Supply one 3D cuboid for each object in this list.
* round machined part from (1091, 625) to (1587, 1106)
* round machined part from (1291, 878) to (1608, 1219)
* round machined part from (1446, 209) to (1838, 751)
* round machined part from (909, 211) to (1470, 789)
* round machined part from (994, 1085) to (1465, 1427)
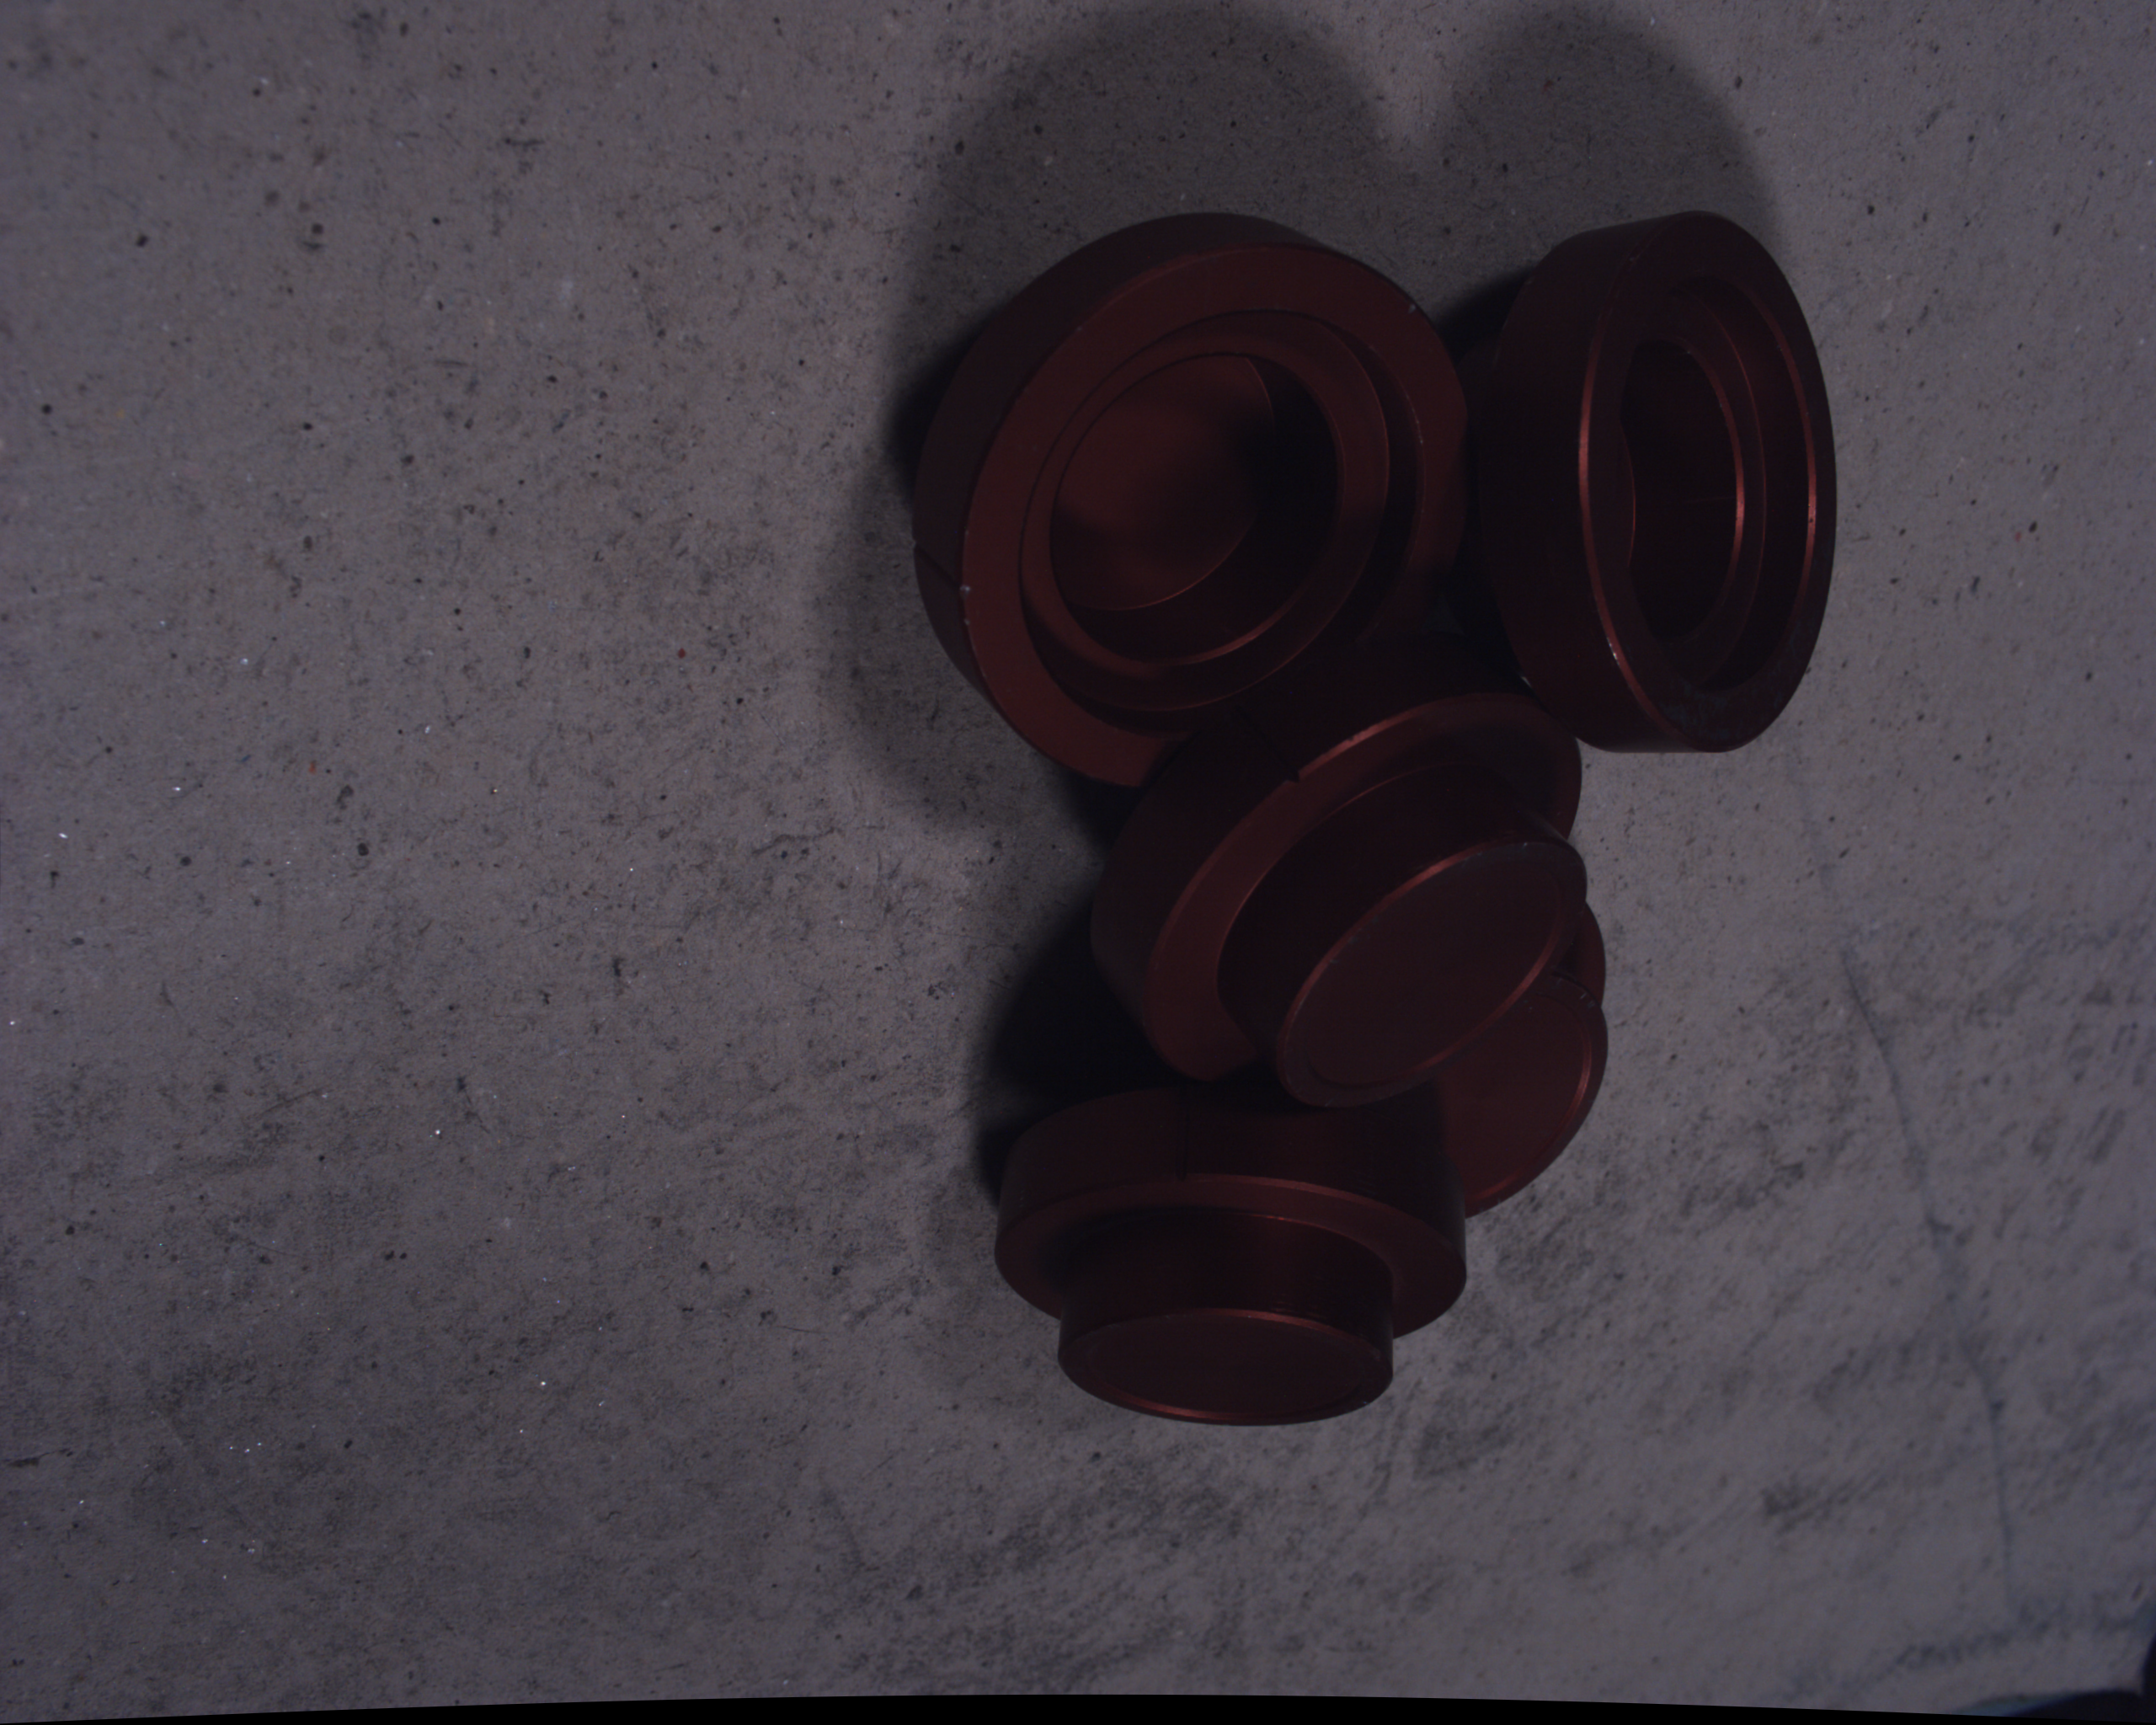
[{"bbox_3d":[0.055,0.007,0.391,0.099,0.042,0.097,-22,140,-20],"label":"round machined part"},{"bbox_3d":[0.079,0.042,0.468,0.099,0.042,0.097,-14,125,-21],"label":"round machined part"},{"bbox_3d":[0.102,-0.070,0.394,0.099,0.042,0.097,-3,94,-46],"label":"round machined part"},{"bbox_3d":[0.016,-0.065,0.367,0.099,0.042,0.097,-14,125,-21],"label":"round machined part"},{"bbox_3d":[0.031,0.087,0.437,0.099,0.042,0.098,4,147,3],"label":"round machined part"}]
